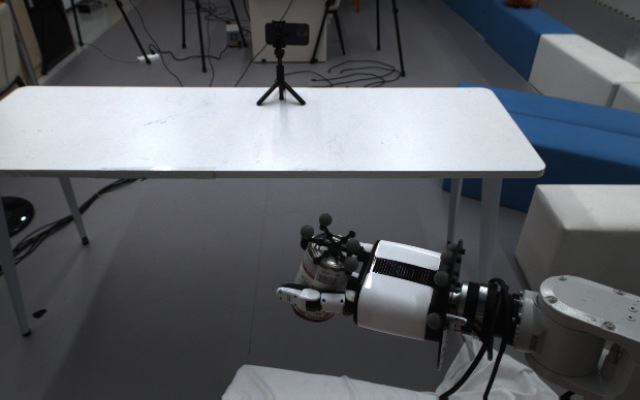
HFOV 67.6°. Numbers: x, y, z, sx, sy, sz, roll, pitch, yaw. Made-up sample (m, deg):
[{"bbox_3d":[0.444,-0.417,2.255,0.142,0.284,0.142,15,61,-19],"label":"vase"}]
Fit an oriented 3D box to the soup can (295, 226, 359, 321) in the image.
[{"bbox_3d":[0.005,0.103,0.637,0.067,0.101,0.067,13,35,-9],"label":"soup can"}]
